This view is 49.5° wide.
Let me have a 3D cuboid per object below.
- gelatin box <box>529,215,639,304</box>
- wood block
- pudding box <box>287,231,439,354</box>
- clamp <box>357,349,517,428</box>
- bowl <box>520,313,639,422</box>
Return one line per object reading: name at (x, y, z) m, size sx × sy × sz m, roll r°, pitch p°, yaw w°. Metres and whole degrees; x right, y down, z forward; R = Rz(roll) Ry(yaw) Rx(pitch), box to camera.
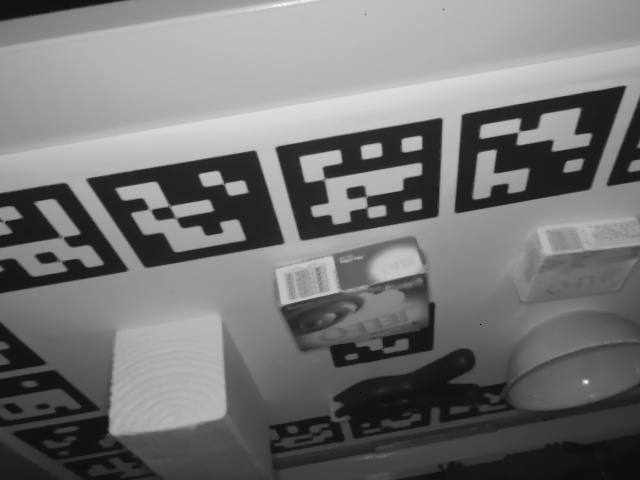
gelatin box at (0.222, 0.017, 0.563) m, size 0.090 × 0.030 × 0.072 m, roll -5°, pitch 139°, yaw -5°
wood block at (-0.099, 0.163, 0.631) m, size 0.090 × 0.091 × 0.205 m, roll -8°, pitch 140°, yaw 1°
pudding box at (0.037, 0.044, 0.555) m, size 0.114 × 0.039 × 0.089 m, roll -12°, pitch 137°, yaw 1°
clamp at (0.119, 0.167, 0.733) m, size 0.164 × 0.037 × 0.122 m, roll -16°, pitch 140°, yaw 11°
bowl at (0.273, 0.121, 0.691) m, size 0.162 × 0.055 × 0.160 m, roll -5°, pitch 138°, yaw -3°
